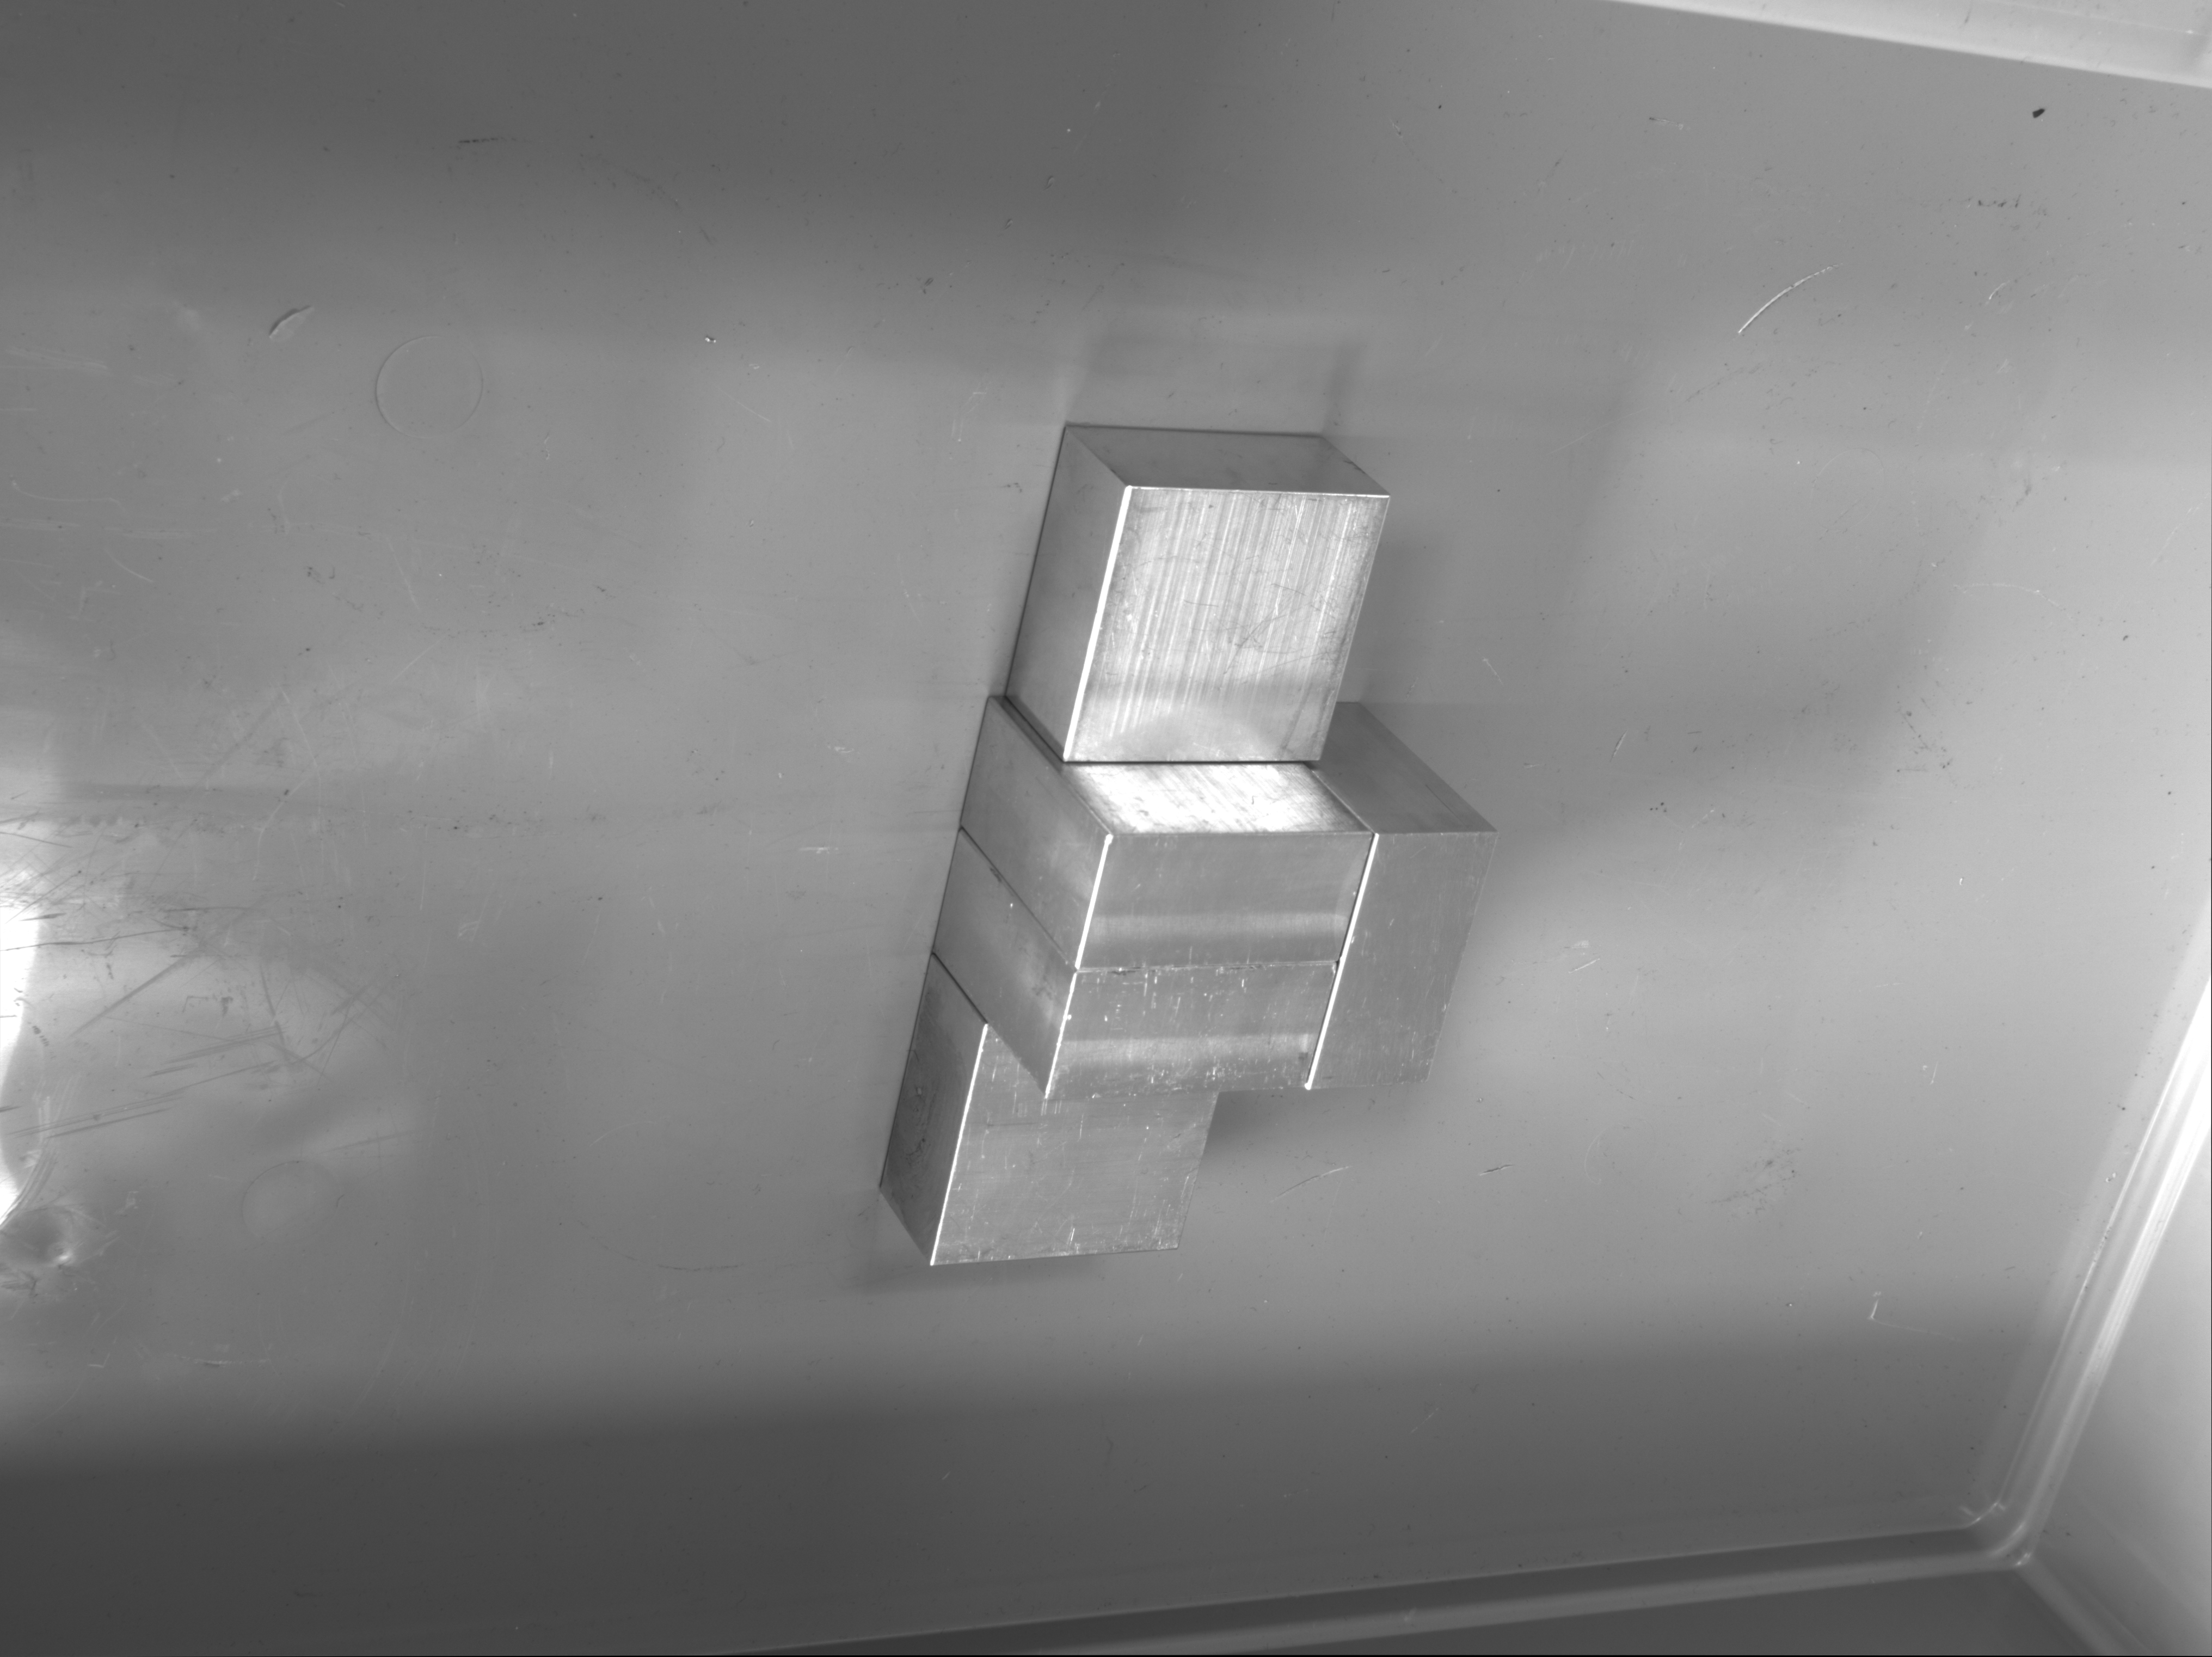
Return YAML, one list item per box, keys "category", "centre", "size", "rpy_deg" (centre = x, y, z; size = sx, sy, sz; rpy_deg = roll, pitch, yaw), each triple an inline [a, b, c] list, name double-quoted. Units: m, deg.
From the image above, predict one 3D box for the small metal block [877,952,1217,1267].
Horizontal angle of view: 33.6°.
- category: "small metal block"
  centre: [-0.009, 0.050, 0.661]
  size: [0.050, 0.025, 0.050]
  rpy_deg: [0, 118, -28]

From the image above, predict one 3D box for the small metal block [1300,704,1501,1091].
- category: "small metal block"
  centre: [0.040, 0.011, 0.648]
  size: [0.025, 0.050, 0.050]
  rpy_deg: [0, 118, -28]

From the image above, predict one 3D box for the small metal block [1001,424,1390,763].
- category: "small metal block"
  centre: [0.015, -0.039, 0.620]
  size: [0.050, 0.025, 0.050]
  rpy_deg: [0, 118, -28]

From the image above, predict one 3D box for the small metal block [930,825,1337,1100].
- category: "small metal block"
  centre: [0.004, 0.022, 0.635]
  size: [0.050, 0.050, 0.025]
  rpy_deg: [0, 118, -28]

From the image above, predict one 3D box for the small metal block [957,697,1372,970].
- category: "small metal block"
  centre: [0.009, 0.000, 0.625]
  size: [0.050, 0.050, 0.025]
  rpy_deg: [0, 118, -28]
